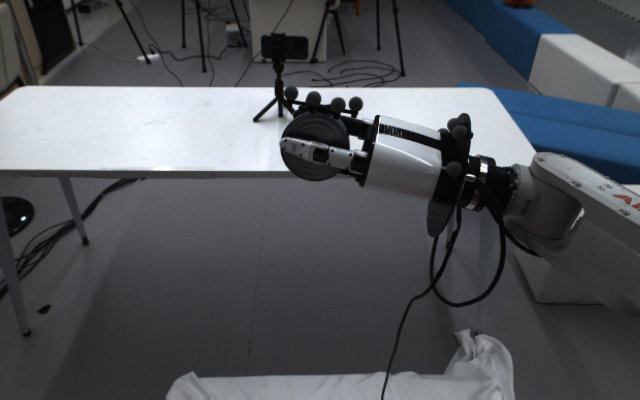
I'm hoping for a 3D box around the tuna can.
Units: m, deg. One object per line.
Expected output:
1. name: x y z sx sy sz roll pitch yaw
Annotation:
1. tuna can: -0.004 -0.070 0.606 0.085 0.085 0.034 5 18 4
